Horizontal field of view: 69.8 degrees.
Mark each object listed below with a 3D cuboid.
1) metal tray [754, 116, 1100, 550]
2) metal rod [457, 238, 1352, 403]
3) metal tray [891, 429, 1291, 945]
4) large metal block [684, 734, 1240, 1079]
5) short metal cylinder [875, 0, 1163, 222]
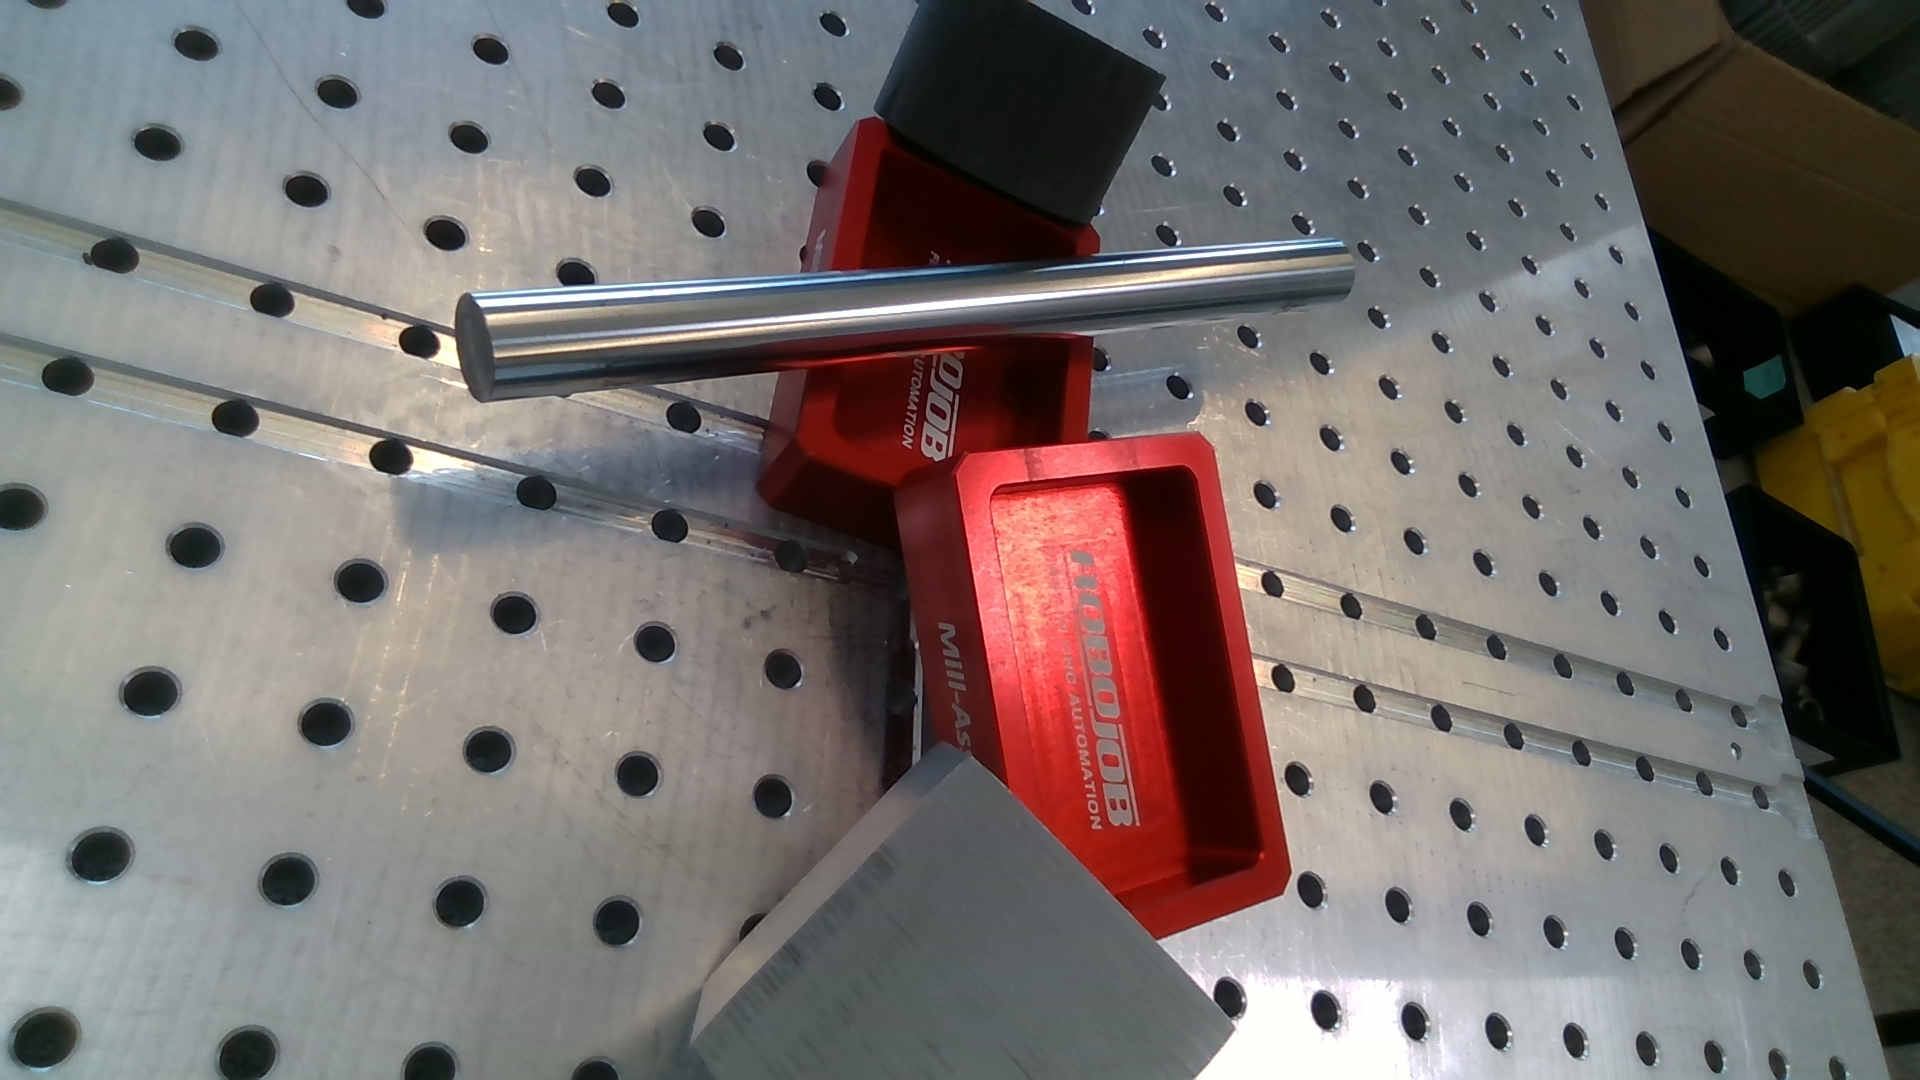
[{"bbox_3d":[-0.006,-0.058,0.420,0.090,0.030,0.130,20,56,-21],"label":"metal tray"},{"bbox_3d":[0.009,-0.069,0.400,0.300,0.025,0.025,-12,72,-36],"label":"metal rod"},{"bbox_3d":[0.037,0.039,0.371,0.090,0.030,0.130,-8,86,-34],"label":"metal tray"},{"bbox_3d":[-0.001,0.101,0.303,0.080,0.050,0.080,-44,92,-8],"label":"large metal block"},{"bbox_3d":[0.019,-0.145,0.446,0.080,0.050,0.080,25,20,-10],"label":"short metal cylinder"}]
